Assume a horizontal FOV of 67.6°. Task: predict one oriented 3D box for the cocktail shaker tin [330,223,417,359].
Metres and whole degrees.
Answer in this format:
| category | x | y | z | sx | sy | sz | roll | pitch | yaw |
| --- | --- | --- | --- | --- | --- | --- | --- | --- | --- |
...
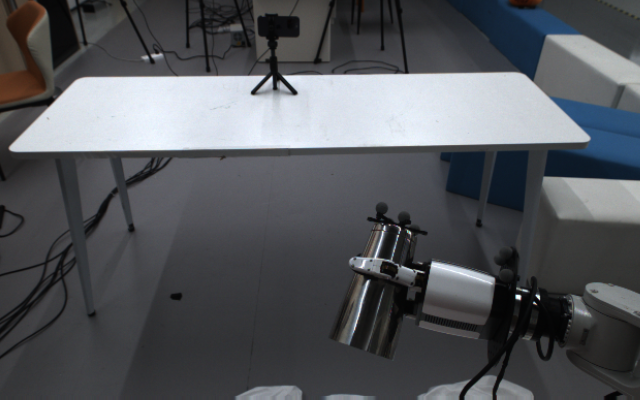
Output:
| category | x | y | z | sx | sy | sz | roll | pitch | yaw |
| --- | --- | --- | --- | --- | --- | --- | --- | --- | --- |
| cocktail shaker tin | 0.080 | 0.122 | 0.670 | 0.093 | 0.093 | 0.170 | 15 | 75 | 18 |
